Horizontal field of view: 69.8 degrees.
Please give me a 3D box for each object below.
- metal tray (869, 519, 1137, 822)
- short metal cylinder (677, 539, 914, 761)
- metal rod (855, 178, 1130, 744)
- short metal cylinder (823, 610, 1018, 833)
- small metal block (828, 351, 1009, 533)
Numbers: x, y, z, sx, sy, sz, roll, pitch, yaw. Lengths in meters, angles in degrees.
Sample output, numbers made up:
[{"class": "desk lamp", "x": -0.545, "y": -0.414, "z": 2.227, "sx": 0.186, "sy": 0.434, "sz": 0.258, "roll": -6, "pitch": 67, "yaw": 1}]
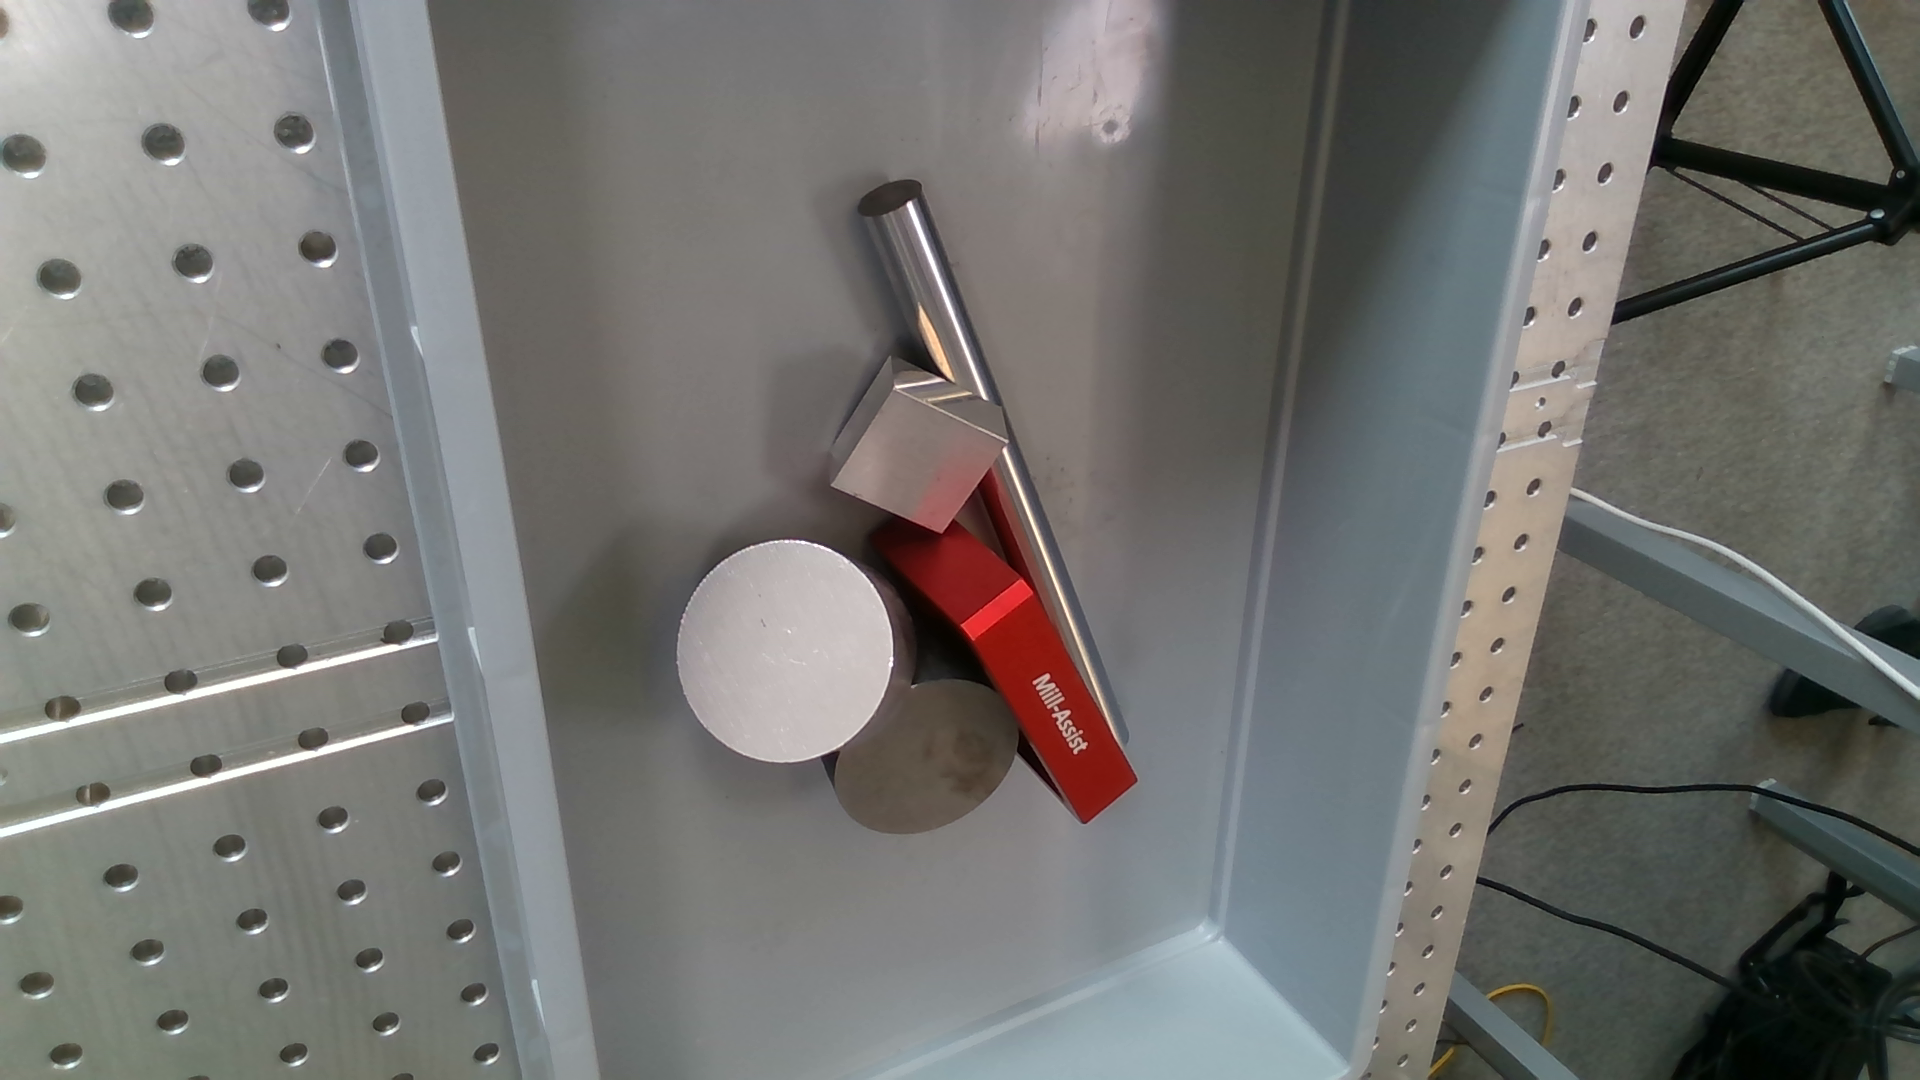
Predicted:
[{"class": "metal tray", "x": 0.019, "y": 0.050, "z": 0.576, "sx": 0.030, "sy": 0.090, "sz": 0.130, "roll": -37, "pitch": 128, "yaw": -9}, {"class": "short metal cylinder", "x": -0.060, "y": 0.042, "z": 0.521, "sx": 0.080, "sy": 0.080, "sz": 0.050, "roll": -50, "pitch": 171, "yaw": 1}, {"class": "metal rod", "x": 0.023, "y": -0.013, "z": 0.586, "sx": 0.025, "sy": 0.025, "sz": 0.301, "roll": -33, "pitch": 128, "yaw": -12}, {"class": "short metal cylinder", "x": -0.022, "y": 0.077, "z": 0.586, "sx": 0.080, "sy": 0.050, "sz": 0.080, "roll": -11, "pitch": 124, "yaw": -17}, {"class": "small metal block", "x": -0.017, "y": -0.037, "z": 0.533, "sx": 0.050, "sy": 0.025, "sz": 0.050, "roll": 23, "pitch": 121, "yaw": -22}]
